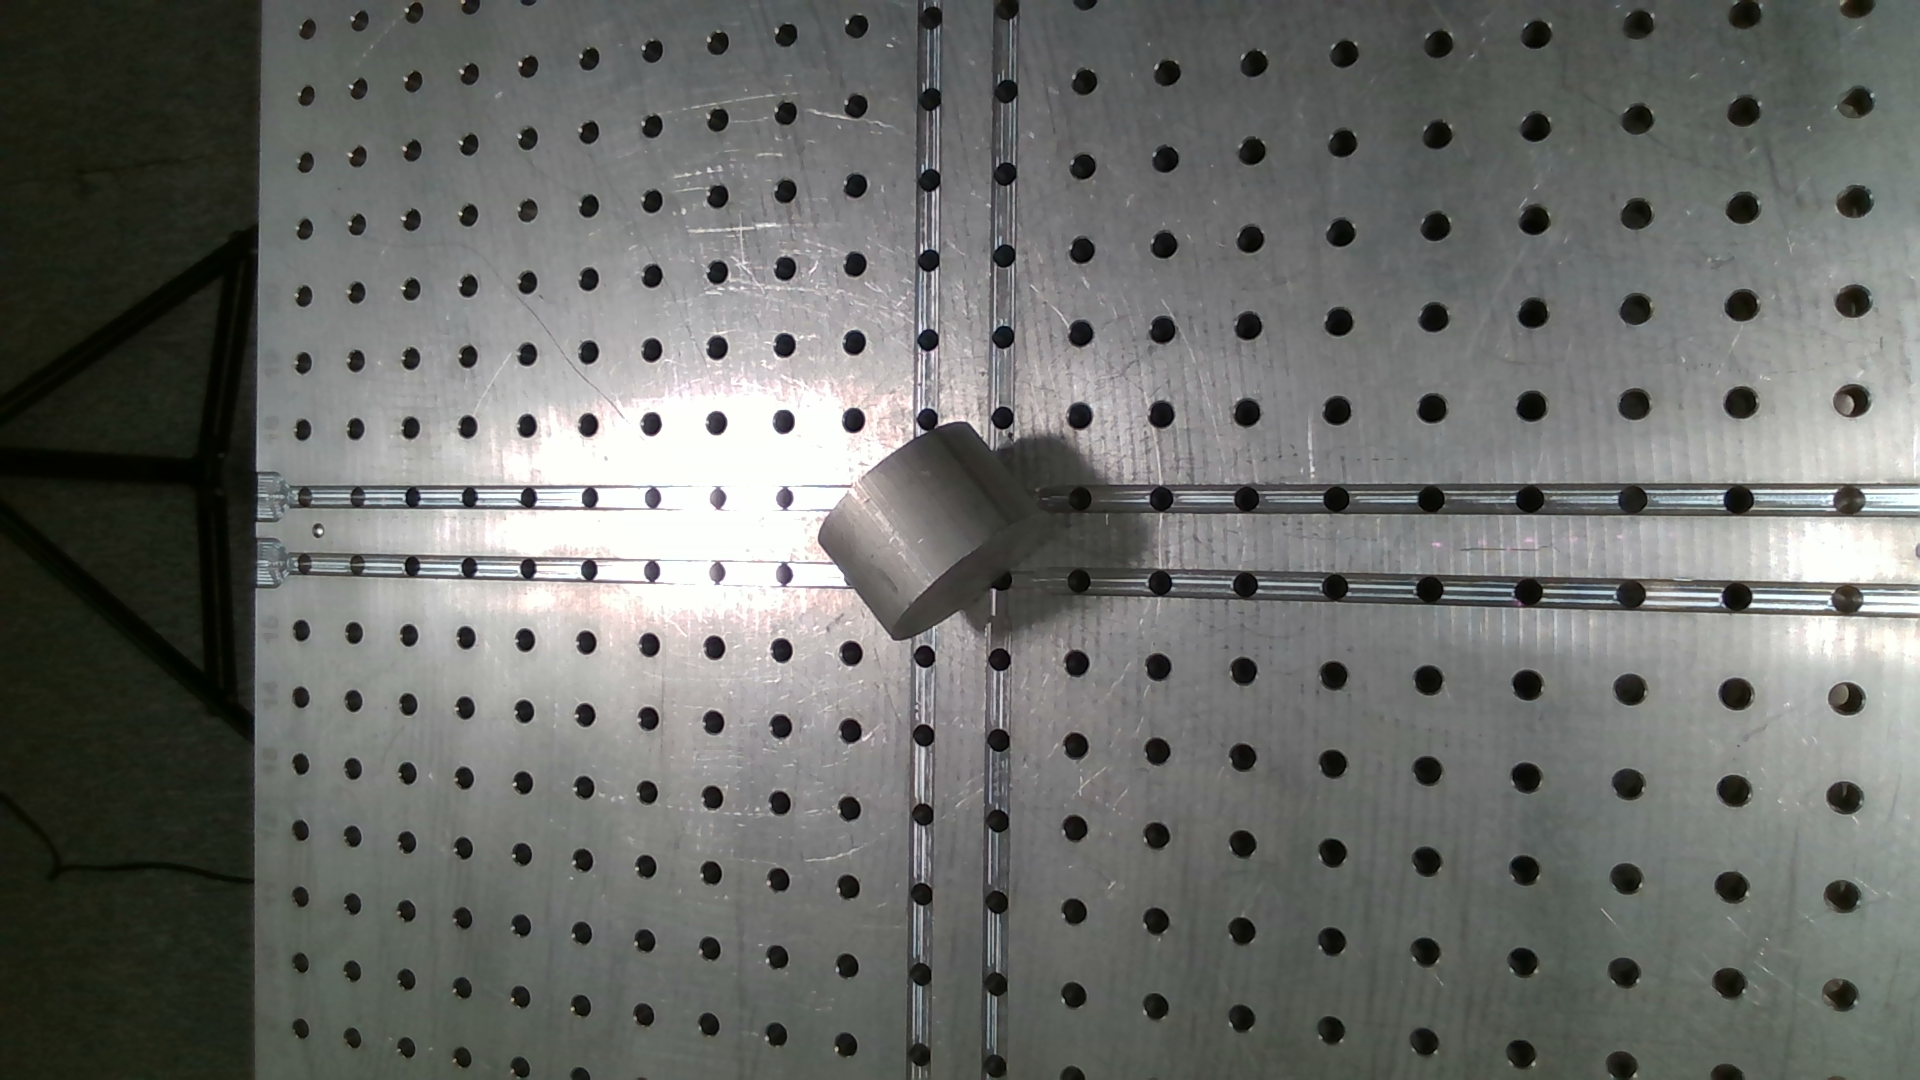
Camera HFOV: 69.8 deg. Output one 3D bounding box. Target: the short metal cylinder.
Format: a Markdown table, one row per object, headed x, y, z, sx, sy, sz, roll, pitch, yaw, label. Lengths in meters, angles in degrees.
| x | y | z | sx | sy | sz | roll | pitch | yaw | label |
| --- | --- | --- | --- | --- | --- | --- | --- | --- | --- |
| -0.012 | -0.003 | 0.562 | 0.080 | 0.080 | 0.050 | -42 | 77 | 16 | short metal cylinder |
